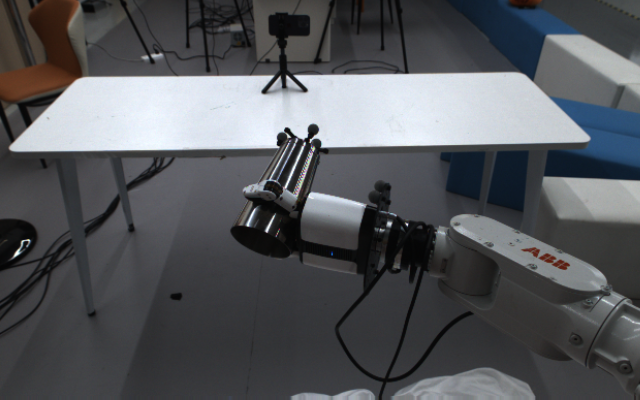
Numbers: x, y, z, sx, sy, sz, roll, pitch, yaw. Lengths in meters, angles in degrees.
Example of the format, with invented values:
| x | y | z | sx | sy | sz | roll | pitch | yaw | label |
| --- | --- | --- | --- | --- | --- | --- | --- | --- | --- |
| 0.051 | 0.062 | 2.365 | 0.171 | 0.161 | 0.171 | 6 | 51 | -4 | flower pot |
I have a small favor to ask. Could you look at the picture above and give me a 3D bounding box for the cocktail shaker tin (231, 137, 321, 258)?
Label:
| x | y | z | sx | sy | sz | roll | pitch | yaw | label |
| --- | --- | --- | --- | --- | --- | --- | --- | --- | --- |
| -0.060 | -0.009 | 0.727 | 0.093 | 0.093 | 0.170 | 14 | 60 | 16 | cocktail shaker tin |
